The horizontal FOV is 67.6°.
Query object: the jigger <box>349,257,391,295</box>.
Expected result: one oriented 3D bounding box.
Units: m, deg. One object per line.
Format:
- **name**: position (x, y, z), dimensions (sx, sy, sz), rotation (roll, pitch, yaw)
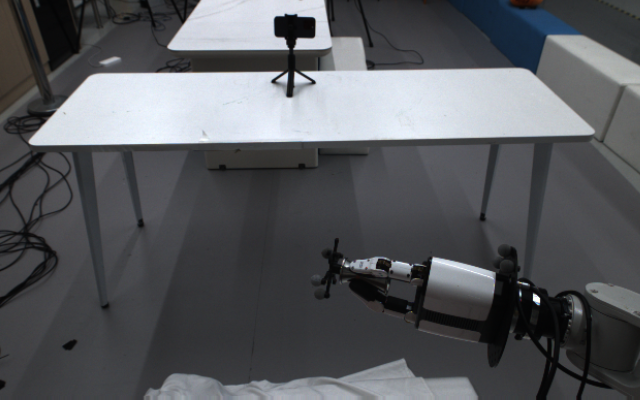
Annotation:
- **jigger**: position (0.072, 0.103, 0.687), dimensions (0.071, 0.043, 0.043), rotation (9, 35, 16)
